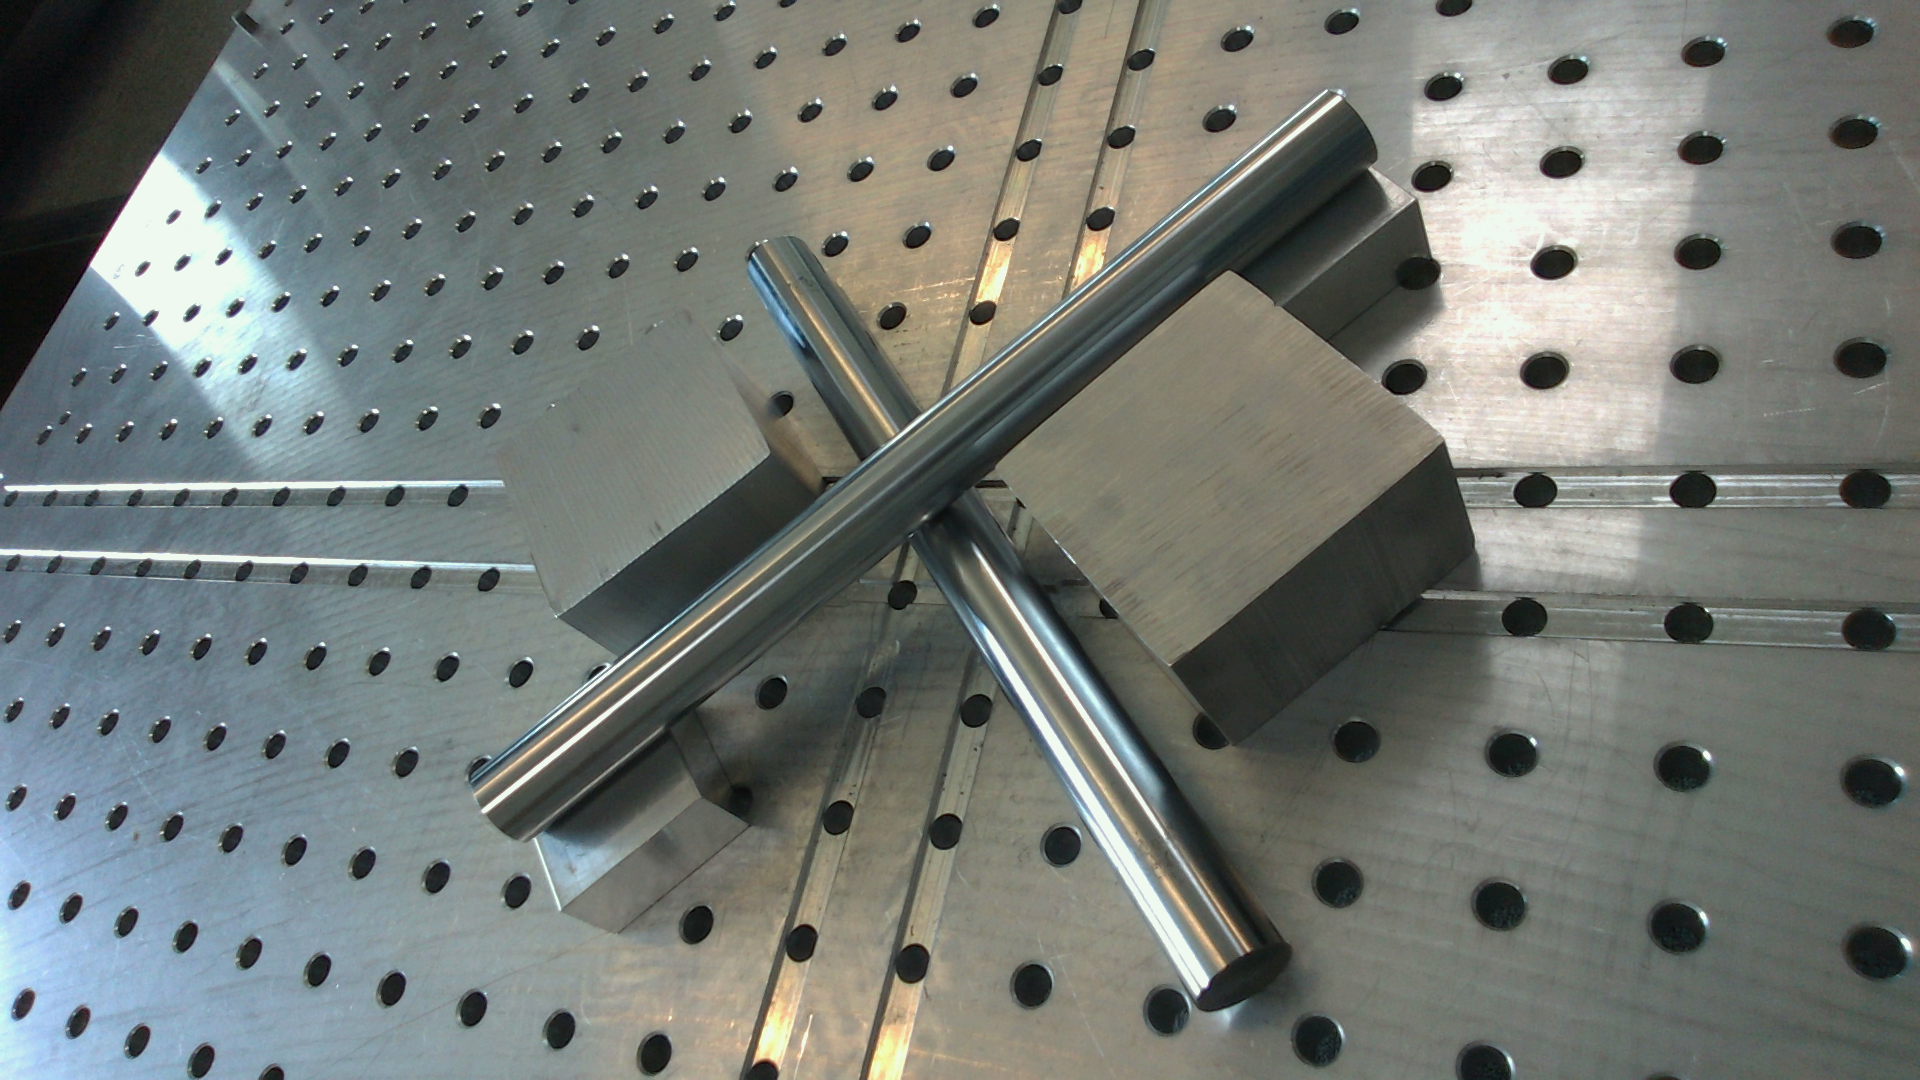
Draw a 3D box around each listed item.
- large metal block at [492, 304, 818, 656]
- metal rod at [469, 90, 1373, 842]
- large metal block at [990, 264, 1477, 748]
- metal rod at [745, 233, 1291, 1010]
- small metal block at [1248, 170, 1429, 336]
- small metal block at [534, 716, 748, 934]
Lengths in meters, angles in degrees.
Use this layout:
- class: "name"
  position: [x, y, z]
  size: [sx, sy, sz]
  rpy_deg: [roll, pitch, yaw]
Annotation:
- class: "large metal block"
  position: [-0.093, -0.015, 0.440]
  size: [0.080, 0.050, 0.080]
  rpy_deg: [-37, 51, 3]
- class: "metal rod"
  position: [-0.012, -0.019, 0.382]
  size: [0.300, 0.025, 0.025]
  rpy_deg: [-39, 51, 2]
- class: "large metal block"
  position: [0.068, -0.010, 0.350]
  size: [0.080, 0.050, 0.080]
  rpy_deg: [-40, 51, 1]
- class: "metal rod"
  position: [-0.001, -0.001, 0.397]
  size: [0.025, 0.025, 0.299]
  rpy_deg: [-37, 51, 4]
- class: "small metal block"
  position: [0.097, -0.086, 0.398]
  size: [0.050, 0.025, 0.050]
  rpy_deg: [-38, 51, 3]
- class: "small metal block"
  position: [-0.097, 0.077, 0.402]
  size: [0.050, 0.025, 0.050]
  rpy_deg: [-39, 51, 2]
